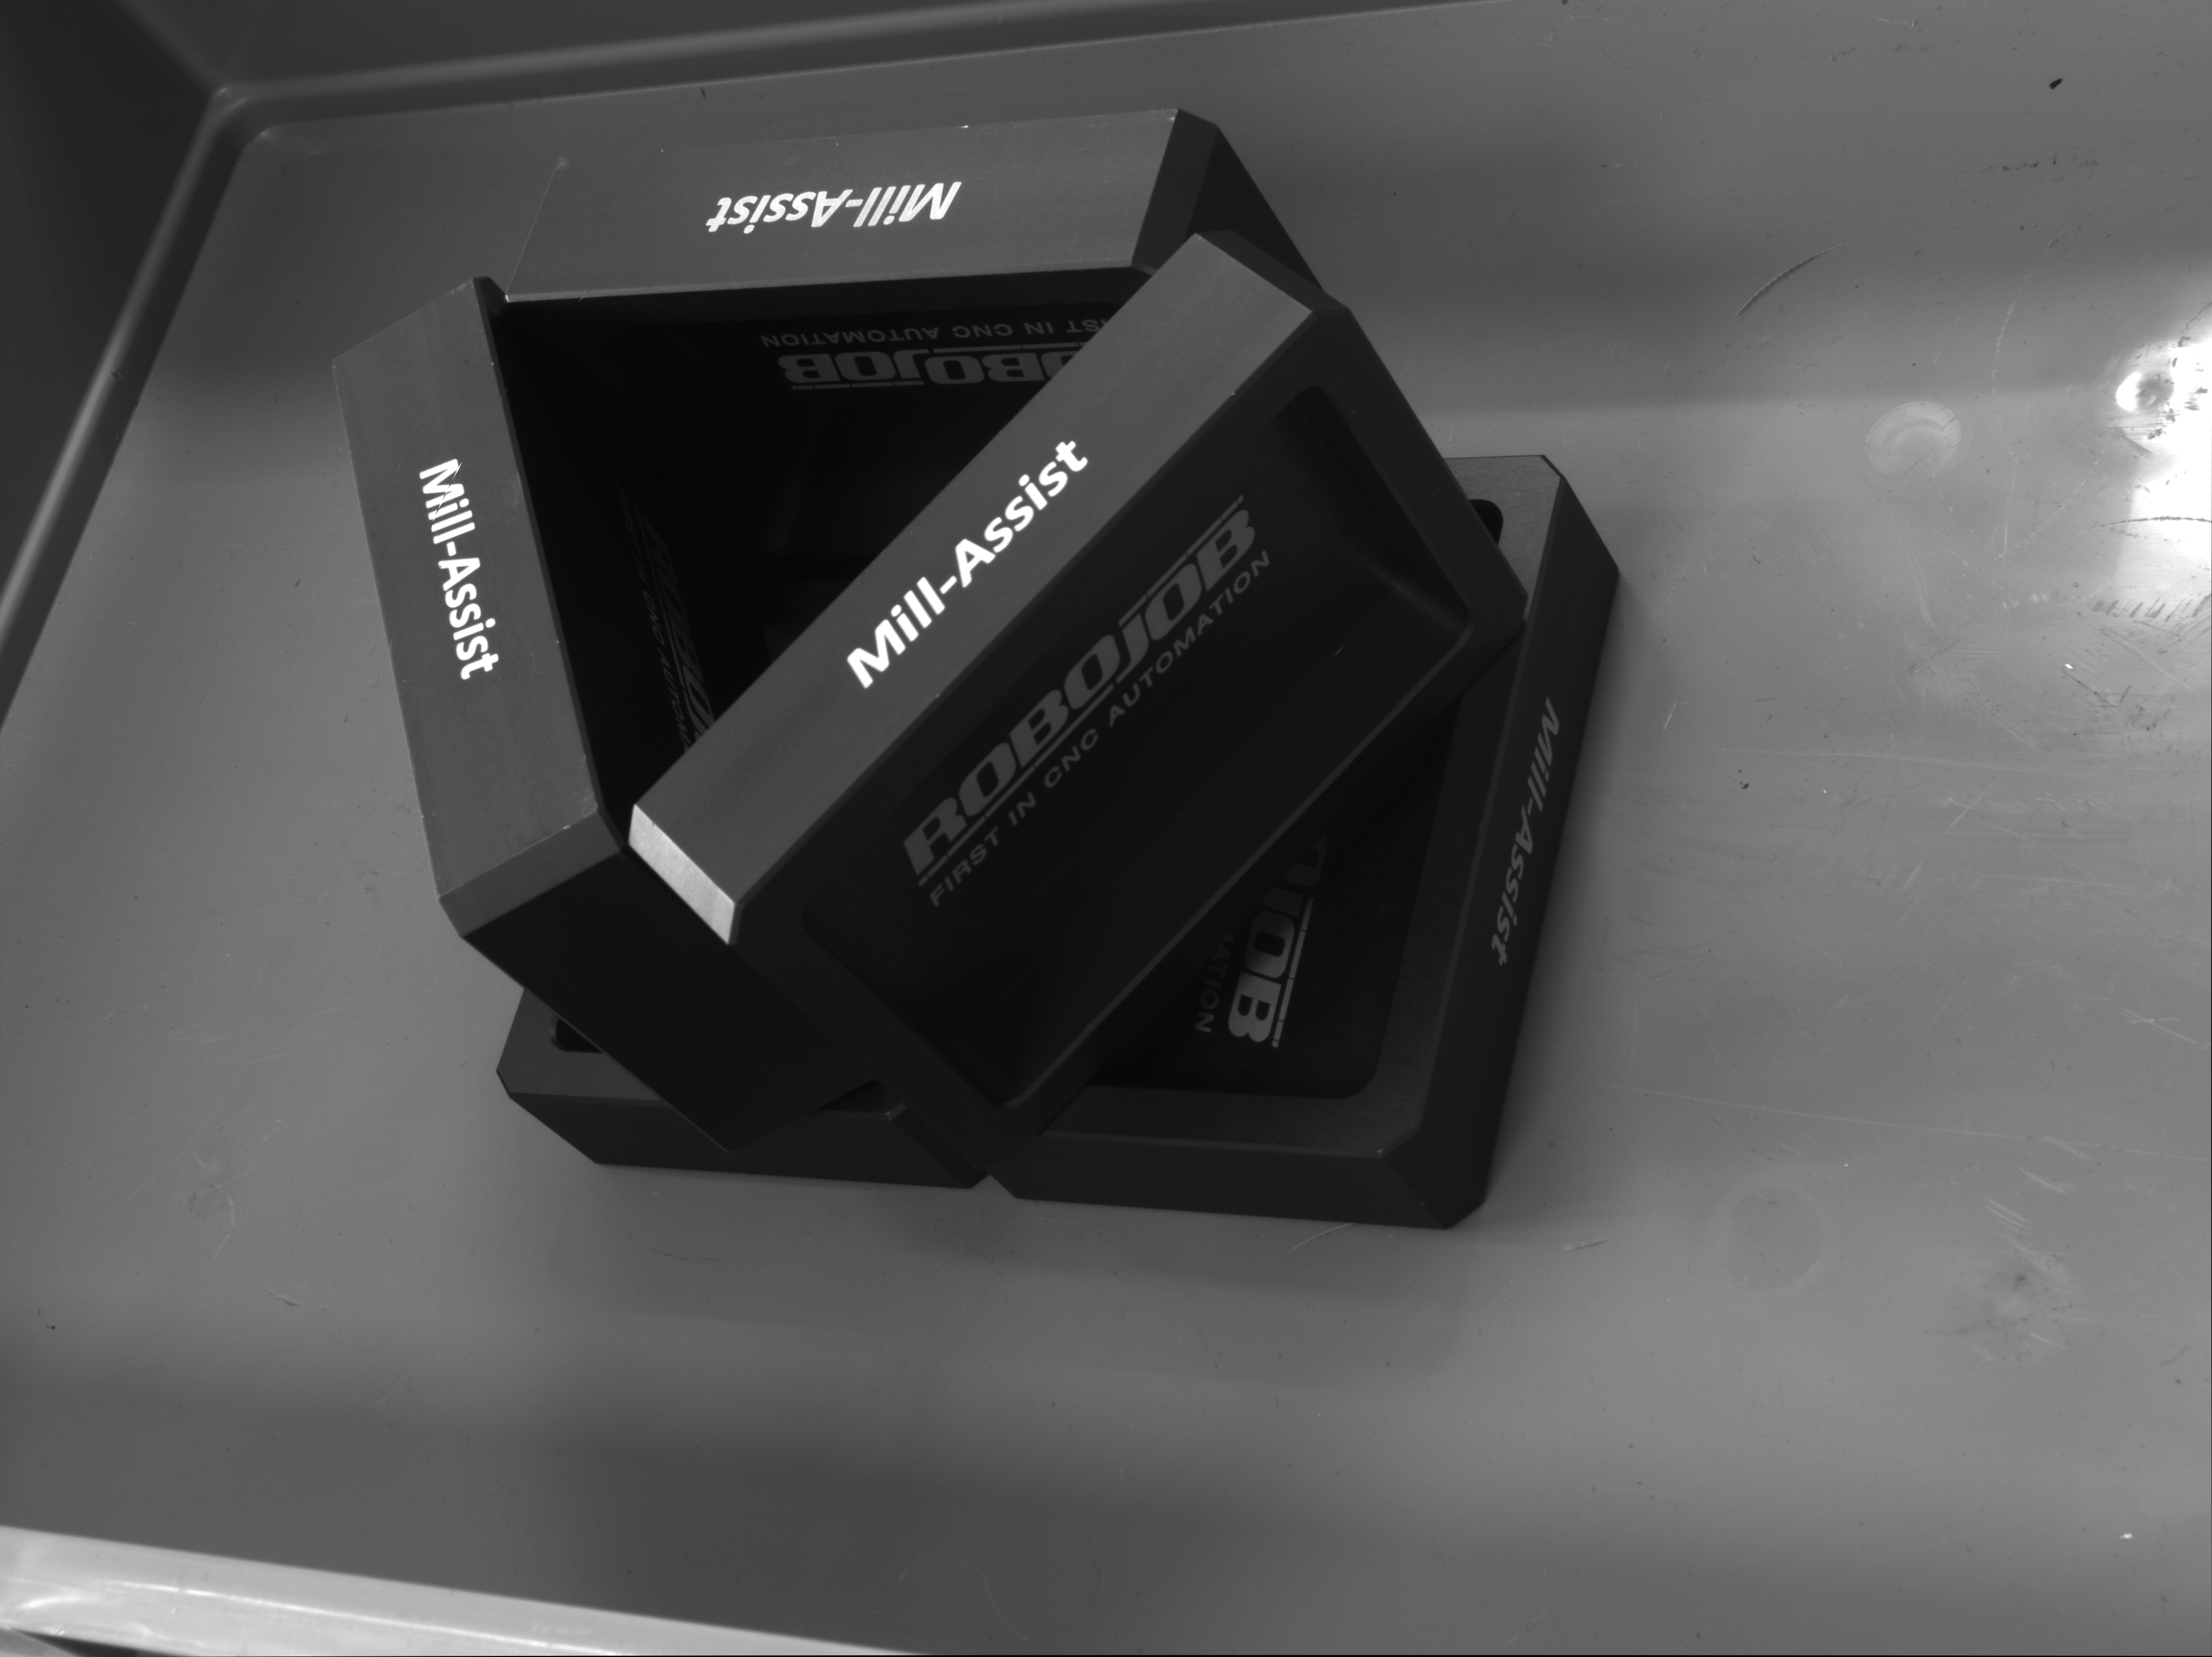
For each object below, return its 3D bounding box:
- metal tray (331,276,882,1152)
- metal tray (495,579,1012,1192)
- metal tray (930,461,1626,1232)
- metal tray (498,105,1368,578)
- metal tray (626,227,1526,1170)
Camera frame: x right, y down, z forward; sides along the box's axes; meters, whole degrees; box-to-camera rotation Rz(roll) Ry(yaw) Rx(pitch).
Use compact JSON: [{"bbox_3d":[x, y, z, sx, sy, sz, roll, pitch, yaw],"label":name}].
[{"bbox_3d":[-0.085,-0.020,0.620,0.030,0.090,0.130,-28,52,11],"label":"metal tray"},{"bbox_3d":[-0.049,-0.001,0.669,0.090,0.030,0.130,0,61,29],"label":"metal tray"},{"bbox_3d":[0.030,0.001,0.624,0.090,0.030,0.130,1,61,29],"label":"metal tray"},{"bbox_3d":[-0.026,-0.079,0.624,0.130,0.090,0.030,2,63,30],"label":"metal tray"},{"bbox_3d":[-0.002,-0.018,0.573,0.130,0.090,0.030,-46,51,-4],"label":"metal tray"}]
